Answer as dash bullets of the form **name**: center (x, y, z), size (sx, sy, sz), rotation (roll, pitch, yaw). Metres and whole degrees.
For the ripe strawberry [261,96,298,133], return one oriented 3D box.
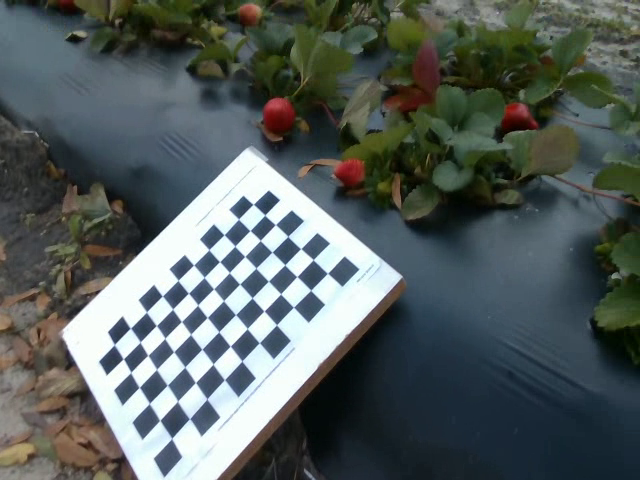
- **ripe strawberry**: center (-0.055, -0.160, 0.743), size (0.046, 0.043, 0.065), rotation (-44, 2, 2)

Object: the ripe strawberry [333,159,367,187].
- **ripe strawberry**: center (0.034, -0.074, 0.650), size (0.042, 0.037, 0.041), rotation (-5, 44, -35)
